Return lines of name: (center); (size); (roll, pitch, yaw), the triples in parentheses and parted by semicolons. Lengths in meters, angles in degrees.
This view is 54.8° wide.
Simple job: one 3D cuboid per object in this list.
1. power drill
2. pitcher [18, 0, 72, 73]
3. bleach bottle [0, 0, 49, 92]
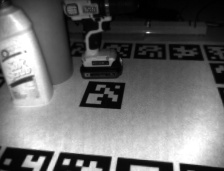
power drill: (-0.024, -0.148, 0.560); (0.184, 0.188, 0.057); (2, 45, 0)
pitcher: (-0.193, -0.150, 0.562); (0.190, 0.244, 0.132); (-16, 44, -11)
bleach bottle: (-0.221, -0.098, 0.476); (0.102, 0.252, 0.067); (-4, 42, 3)
